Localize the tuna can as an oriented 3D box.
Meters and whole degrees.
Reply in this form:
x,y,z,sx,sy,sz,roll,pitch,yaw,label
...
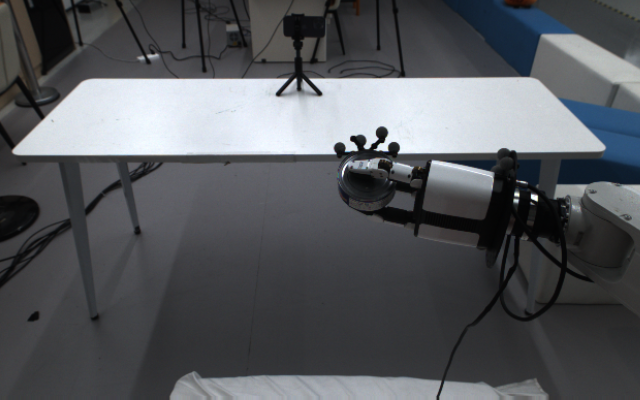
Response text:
x,y,z,sx,sy,sz,roll,pitch,yaw,label
0.067,-0.030,0.684,0.085,0.034,0.085,-2,55,3,tuna can
